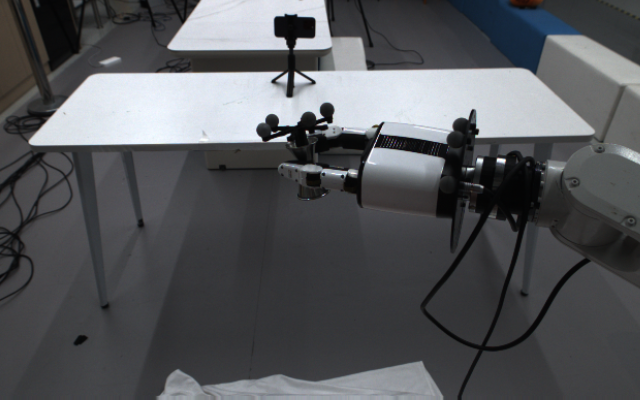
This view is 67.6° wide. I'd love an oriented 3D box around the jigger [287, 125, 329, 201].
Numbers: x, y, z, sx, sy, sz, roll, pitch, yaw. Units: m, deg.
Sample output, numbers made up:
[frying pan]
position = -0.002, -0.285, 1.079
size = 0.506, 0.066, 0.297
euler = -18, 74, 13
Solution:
[jigger]
position = -0.014, -0.039, 0.595
size = 0.043, 0.071, 0.043
euler = -11, 24, 5
